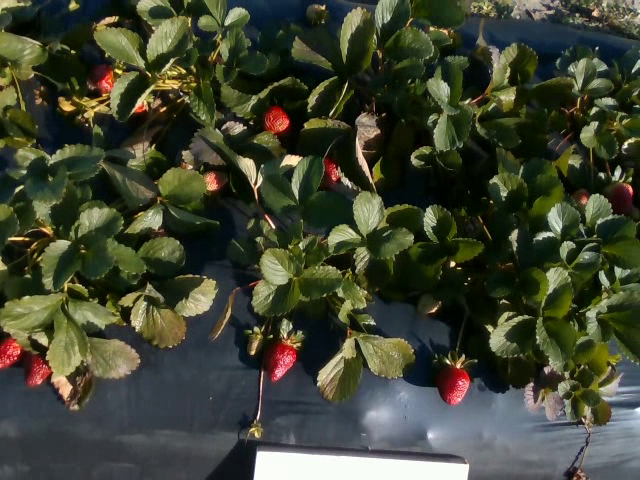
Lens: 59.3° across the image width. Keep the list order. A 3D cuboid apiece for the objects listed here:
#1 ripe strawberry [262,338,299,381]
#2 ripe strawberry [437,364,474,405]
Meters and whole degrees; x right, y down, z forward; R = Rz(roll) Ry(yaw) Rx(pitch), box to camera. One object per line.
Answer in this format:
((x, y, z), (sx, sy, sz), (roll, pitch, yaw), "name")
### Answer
((-0.049, 0.142, 0.645), (0.041, 0.053, 0.043), (17, -36, -10), "ripe strawberry")
((0.154, 0.177, 0.658), (0.042, 0.050, 0.043), (41, -44, -12), "ripe strawberry")
